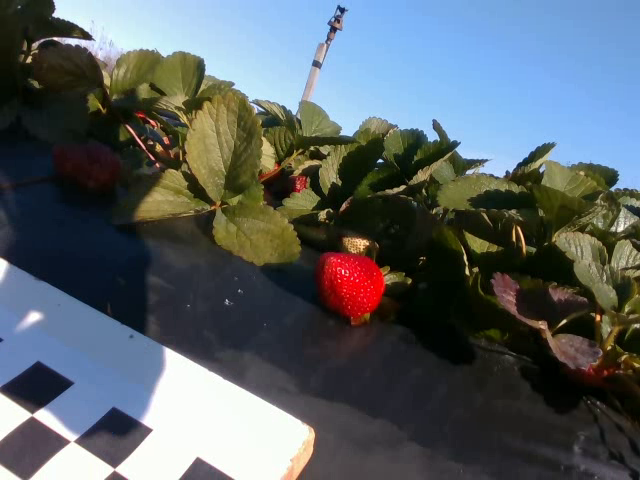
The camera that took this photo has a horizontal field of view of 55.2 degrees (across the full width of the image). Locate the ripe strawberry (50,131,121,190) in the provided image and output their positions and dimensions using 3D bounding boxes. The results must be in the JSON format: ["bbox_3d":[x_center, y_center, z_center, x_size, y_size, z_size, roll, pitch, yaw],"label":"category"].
[{"bbox_3d":[-0.161,-0.052,0.415,0.042,0.043,0.053,34,0,26],"label":"ripe strawberry"}]

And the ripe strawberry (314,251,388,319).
[{"bbox_3d":[0.013,0.022,0.333,0.050,0.043,0.042,41,11,-48],"label":"ripe strawberry"}]
